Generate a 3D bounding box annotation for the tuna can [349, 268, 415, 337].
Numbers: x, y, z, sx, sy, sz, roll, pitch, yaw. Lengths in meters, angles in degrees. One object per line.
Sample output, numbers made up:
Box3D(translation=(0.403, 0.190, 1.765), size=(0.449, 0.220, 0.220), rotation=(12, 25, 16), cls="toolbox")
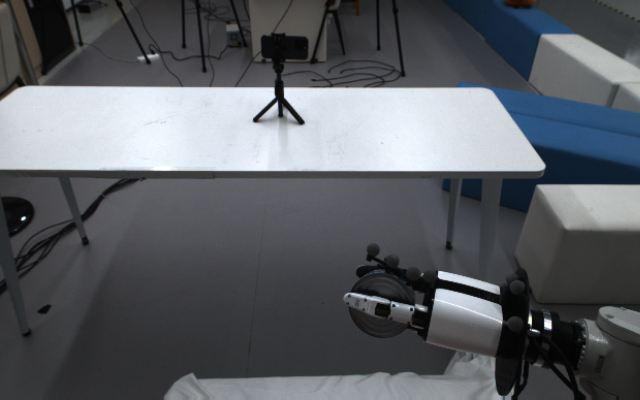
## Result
Box3D(translation=(0.085, 0.132, 0.636), size=(0.085, 0.085, 0.034), rotation=(13, 2, 16), cls="tuna can")
